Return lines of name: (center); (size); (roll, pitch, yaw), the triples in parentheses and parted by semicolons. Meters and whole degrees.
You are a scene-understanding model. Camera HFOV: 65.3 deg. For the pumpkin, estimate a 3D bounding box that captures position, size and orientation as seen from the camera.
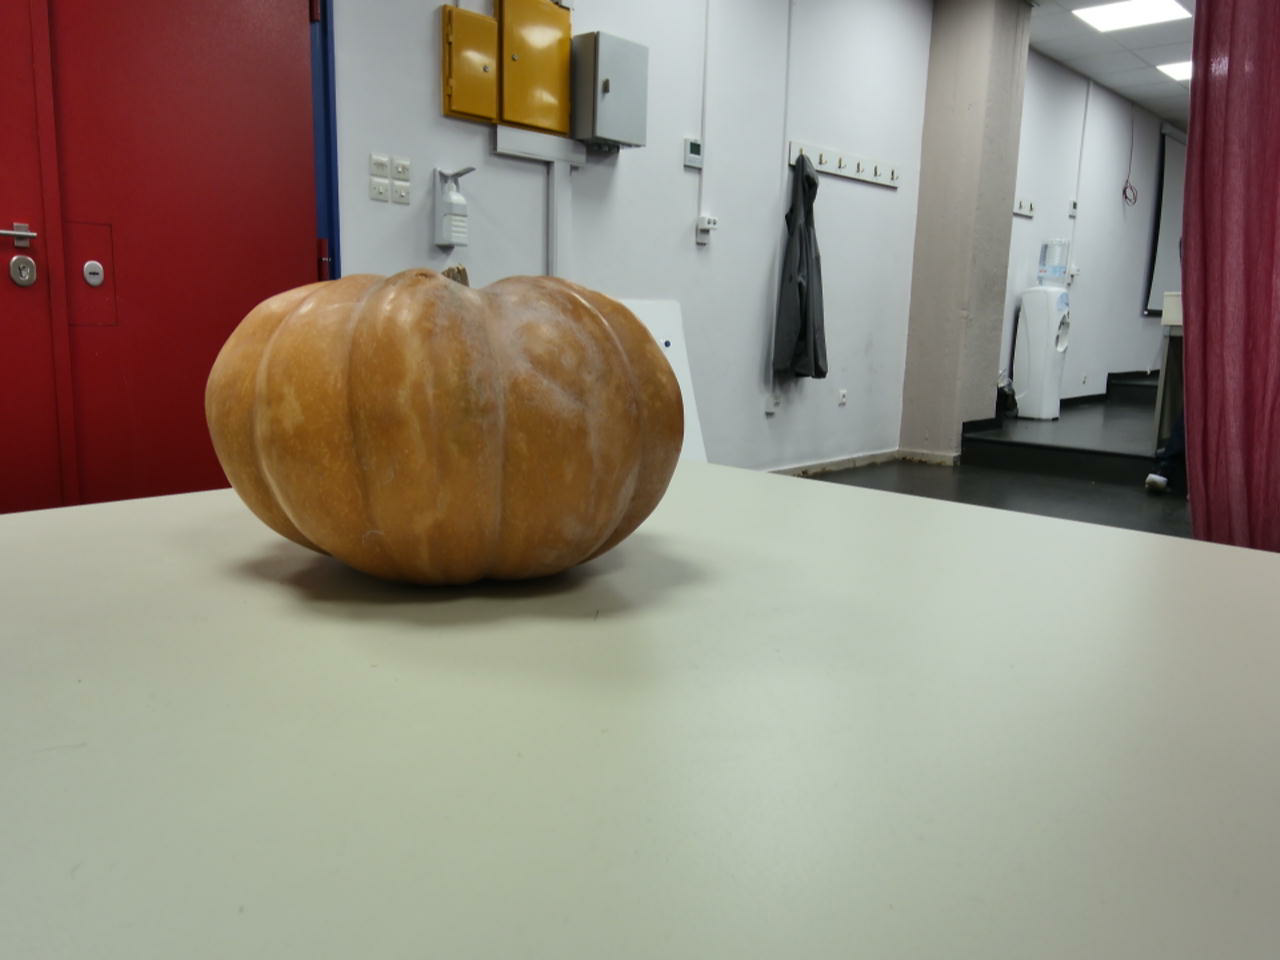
pumpkin: (-0.111, -0.035, 0.598); (0.277, 0.181, 0.277); (0, 8, 0)
